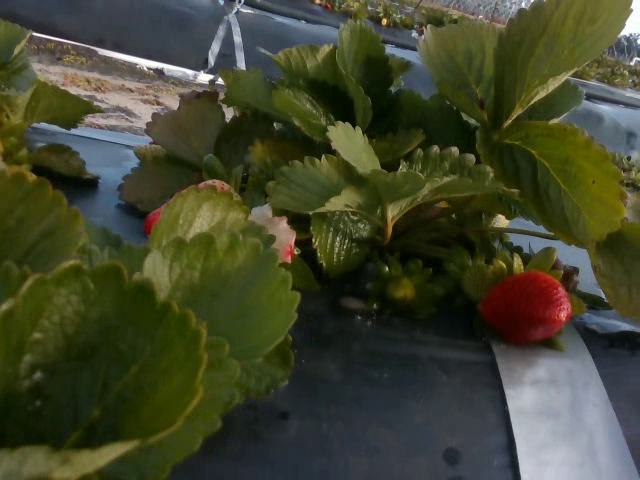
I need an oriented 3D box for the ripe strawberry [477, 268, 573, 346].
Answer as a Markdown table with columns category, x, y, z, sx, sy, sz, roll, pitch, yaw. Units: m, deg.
| category | x | y | z | sx | sy | sz | roll | pitch | yaw |
| --- | --- | --- | --- | --- | --- | --- | --- | --- | --- |
| ripe strawberry | 0.094 | 0.029 | 0.259 | 0.050 | 0.036 | 0.055 | 24 | 23 | 3 |
